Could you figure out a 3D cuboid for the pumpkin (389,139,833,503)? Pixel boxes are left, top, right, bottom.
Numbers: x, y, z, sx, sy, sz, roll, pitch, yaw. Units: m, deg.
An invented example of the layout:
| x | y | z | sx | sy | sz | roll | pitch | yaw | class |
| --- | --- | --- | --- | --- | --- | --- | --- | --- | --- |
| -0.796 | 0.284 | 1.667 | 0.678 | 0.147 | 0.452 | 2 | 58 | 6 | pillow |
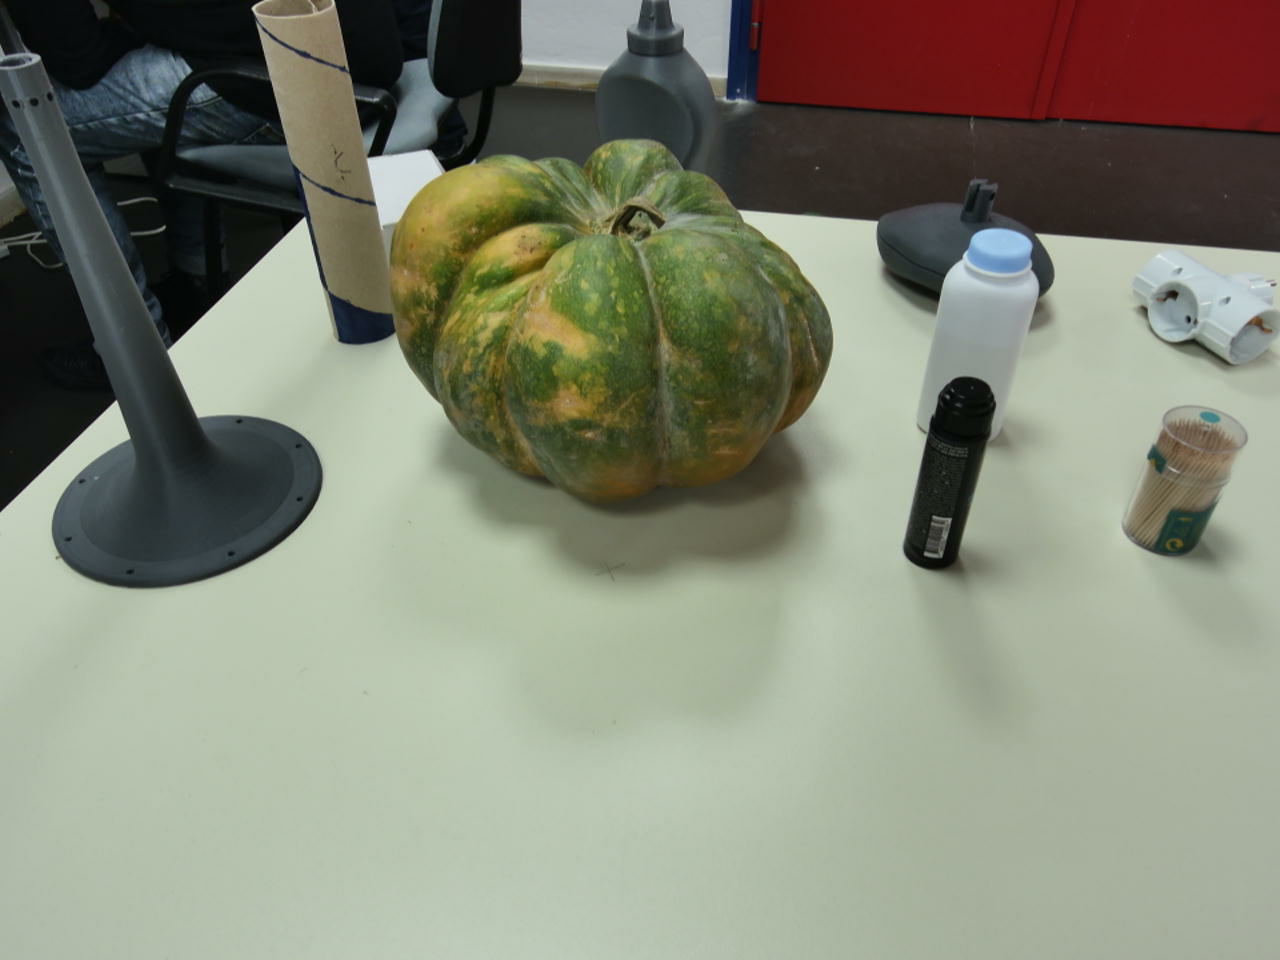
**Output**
| x | y | z | sx | sy | sz | roll | pitch | yaw | class |
| --- | --- | --- | --- | --- | --- | --- | --- | --- | --- |
| -0.016 | -0.101 | 0.593 | 0.237 | 0.173 | 0.270 | -28 | 47 | -30 | pumpkin |
